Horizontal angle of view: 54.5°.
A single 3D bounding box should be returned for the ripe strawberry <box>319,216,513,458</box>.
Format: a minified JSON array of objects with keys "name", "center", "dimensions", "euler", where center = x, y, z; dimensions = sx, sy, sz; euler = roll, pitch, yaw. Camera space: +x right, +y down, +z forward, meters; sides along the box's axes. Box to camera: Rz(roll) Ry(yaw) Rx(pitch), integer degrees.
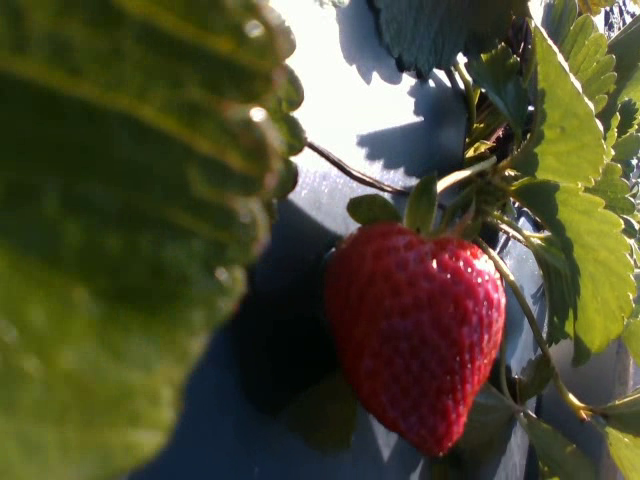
[{"name":"ripe strawberry","center":[0.018,0.018,0.125],"dimensions":[0.044,0.056,0.042],"euler":[6,-32,-5]}]
